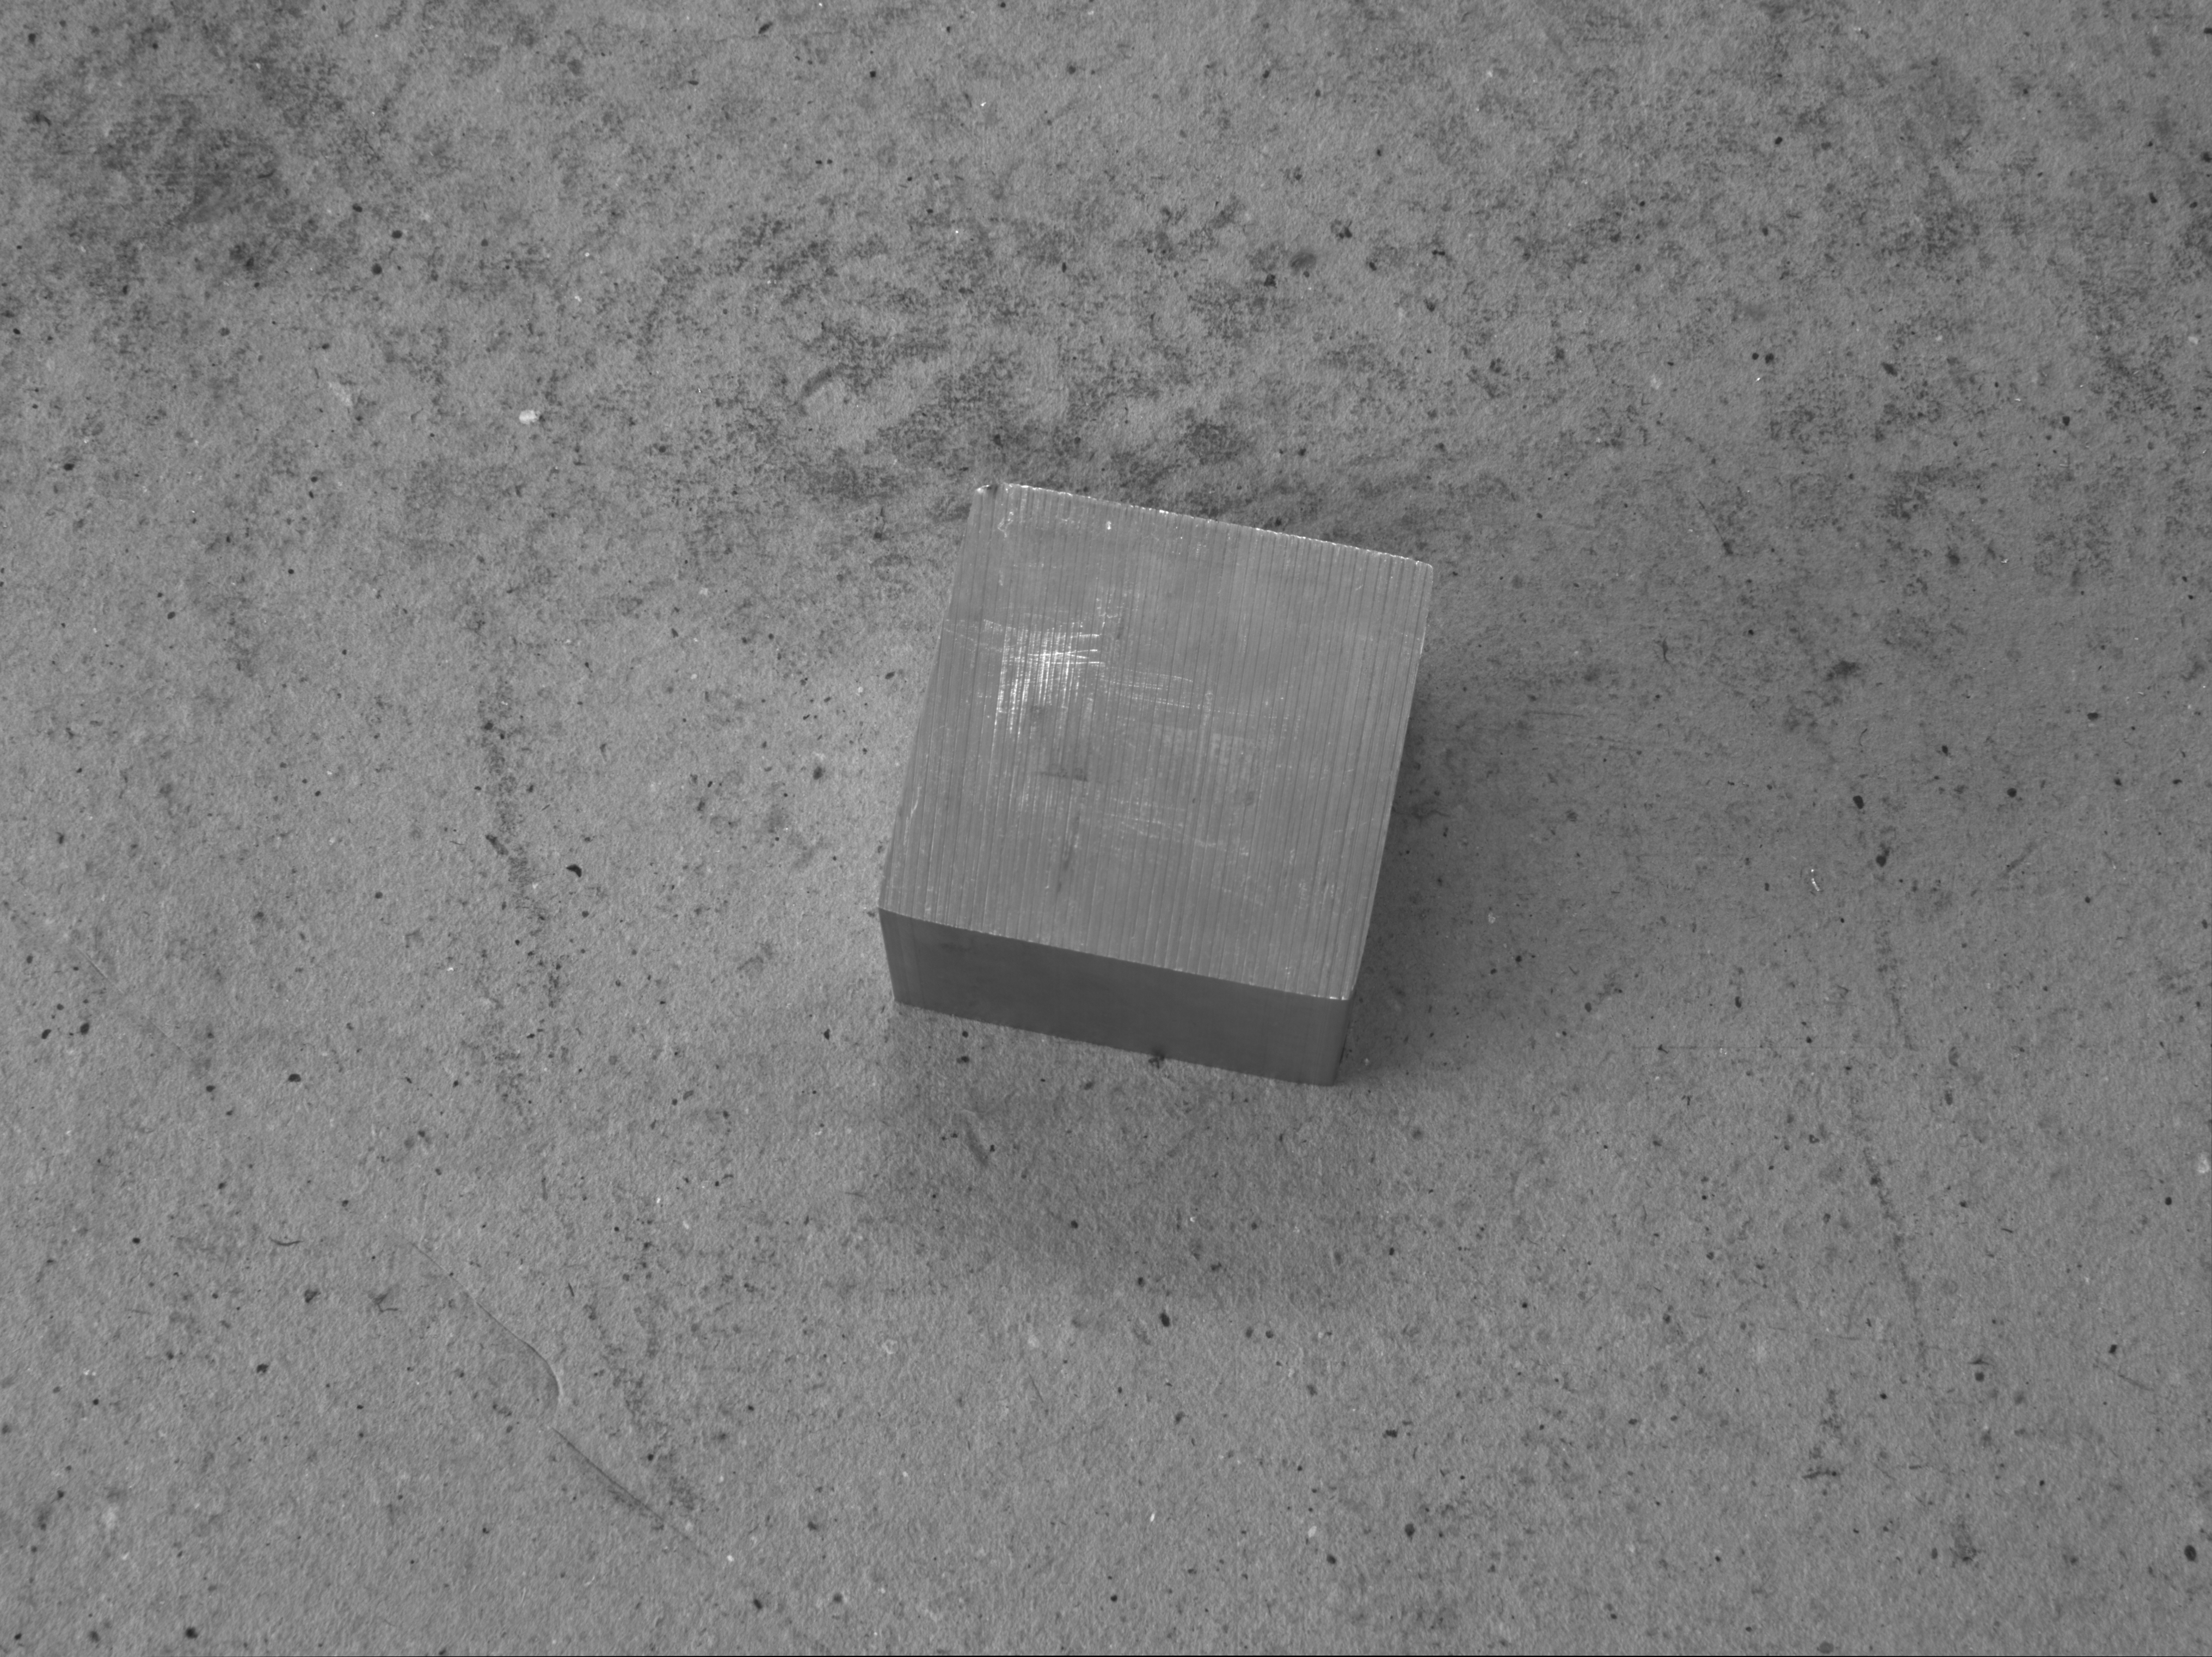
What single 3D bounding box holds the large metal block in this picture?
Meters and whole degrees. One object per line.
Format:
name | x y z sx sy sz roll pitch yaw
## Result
large metal block | 0.009 -0.007 0.635 0.080 0.050 0.080 11 70 3
